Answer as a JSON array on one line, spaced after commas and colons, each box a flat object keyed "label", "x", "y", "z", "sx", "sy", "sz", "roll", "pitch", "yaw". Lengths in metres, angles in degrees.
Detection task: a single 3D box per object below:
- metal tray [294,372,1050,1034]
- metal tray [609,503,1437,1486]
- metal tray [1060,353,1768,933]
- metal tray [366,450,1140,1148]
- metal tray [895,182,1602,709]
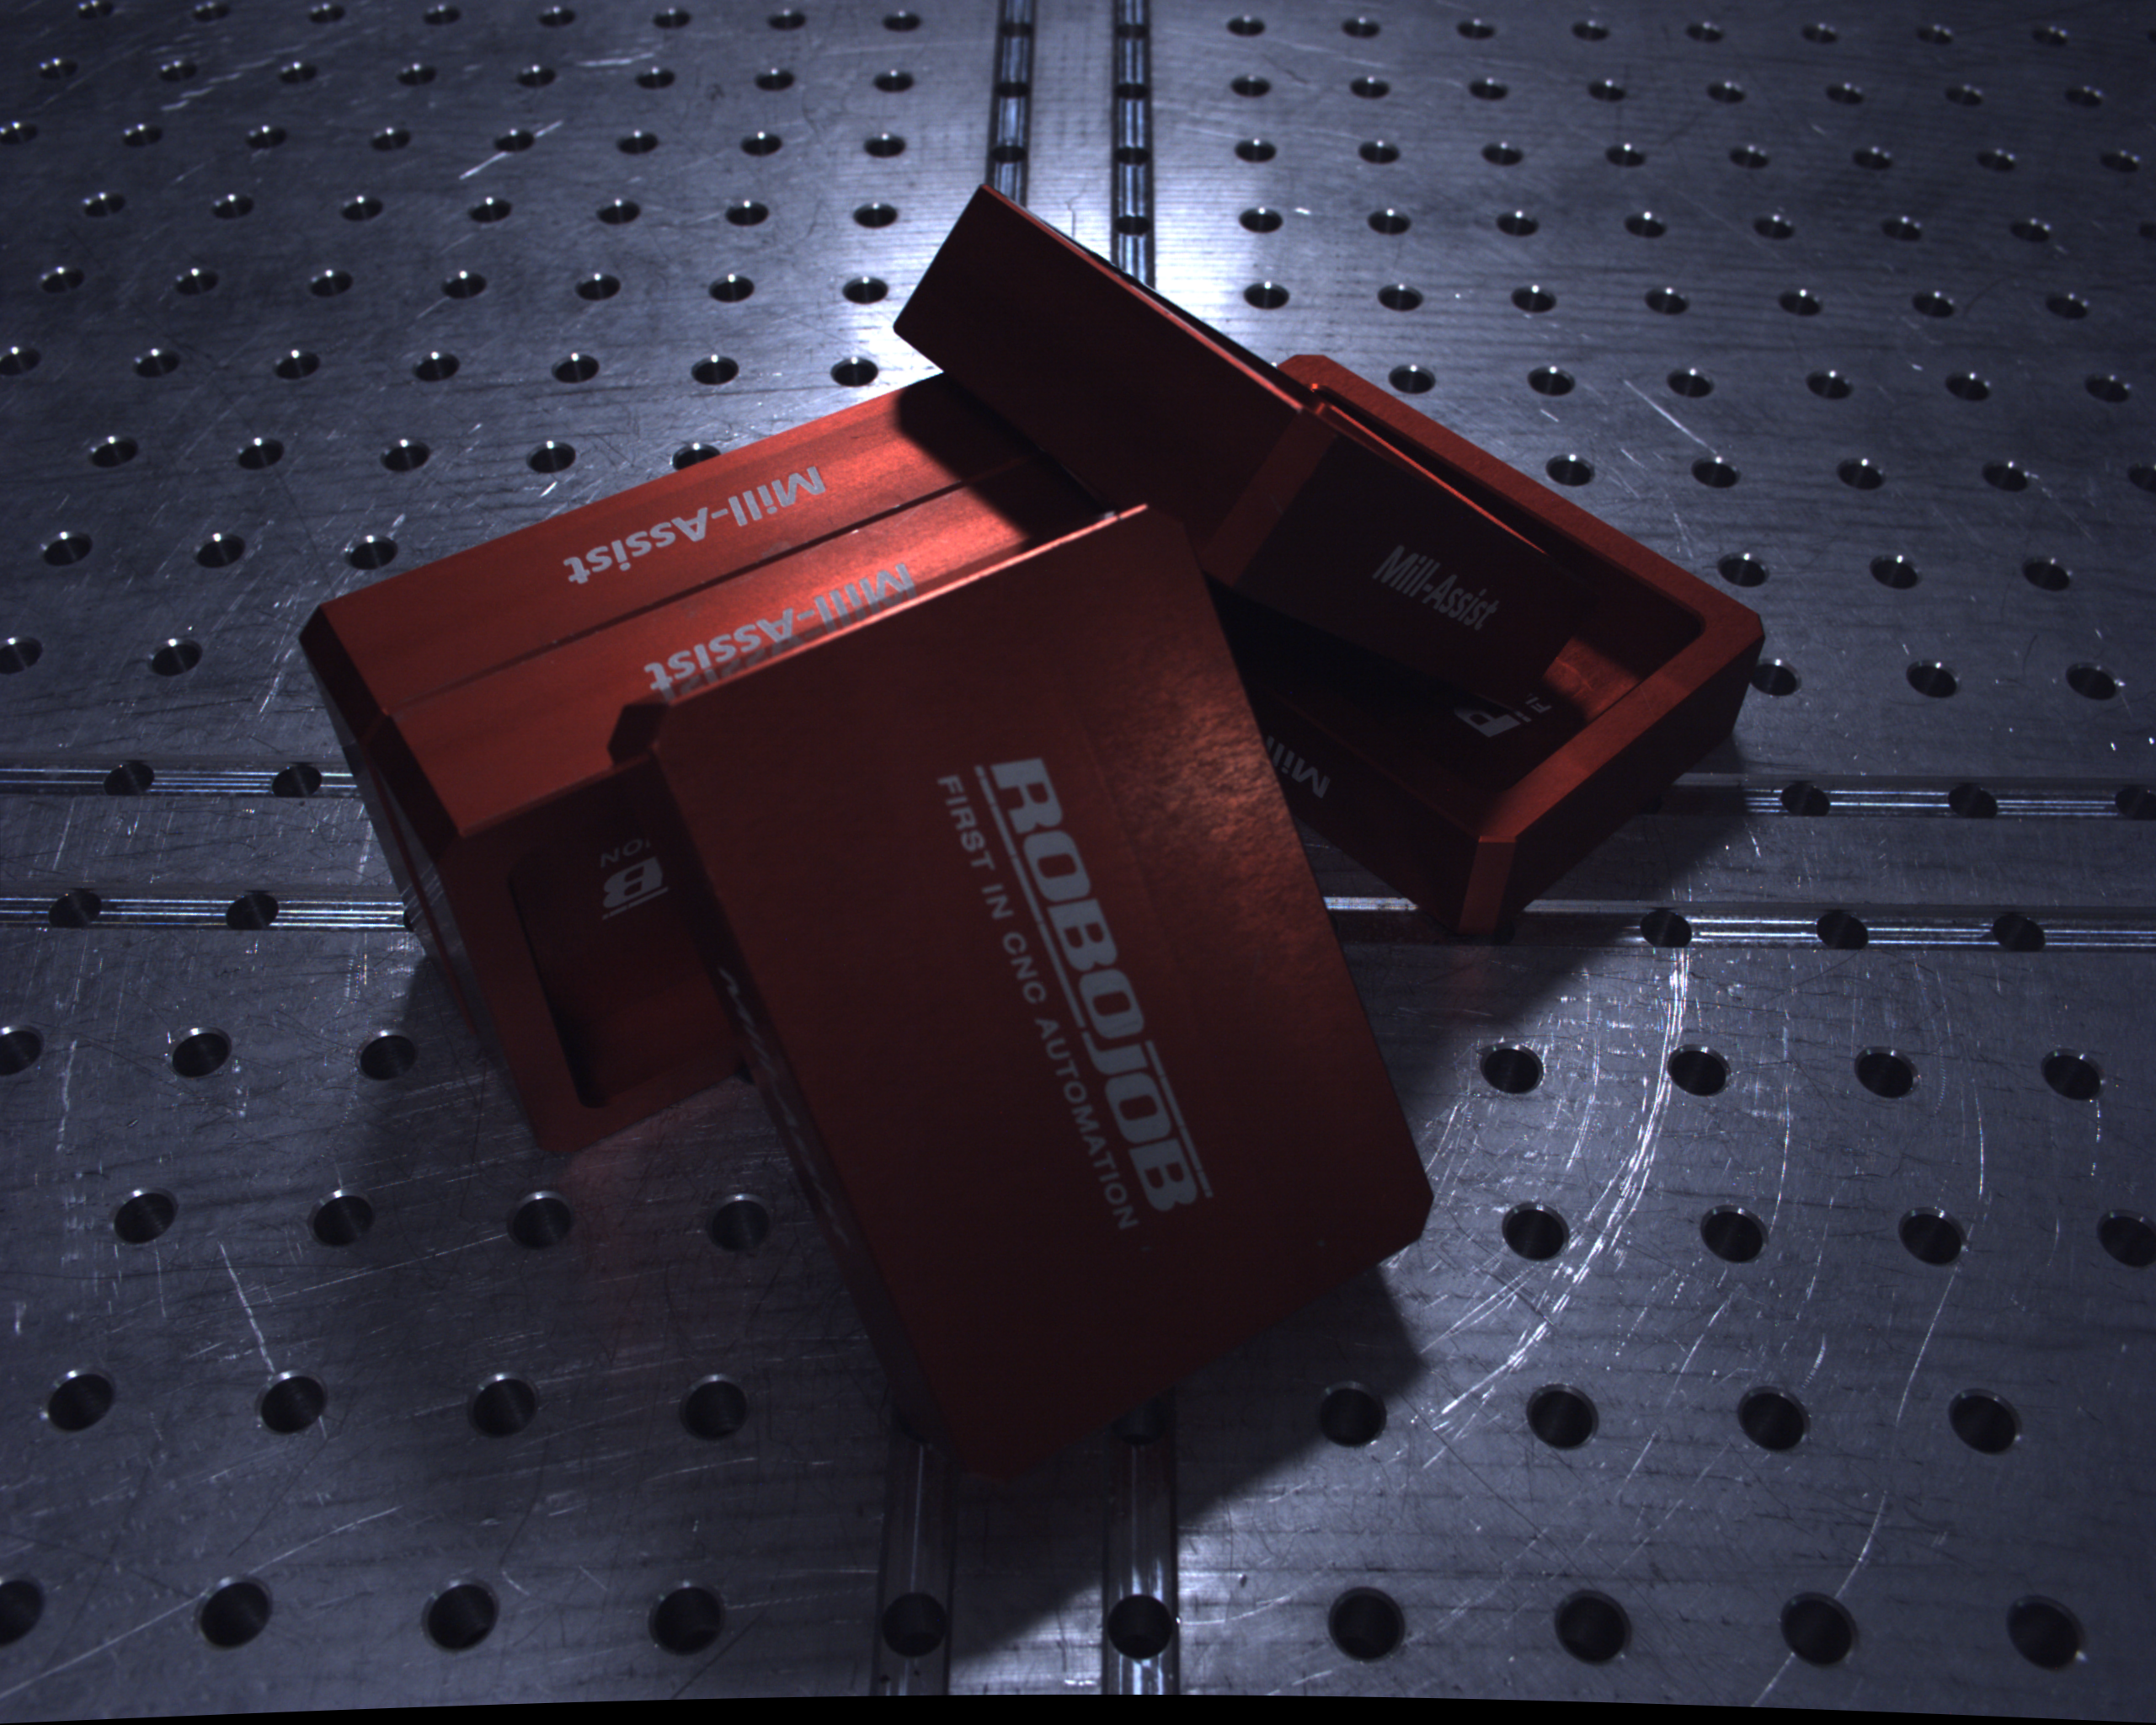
[{"label": "metal tray", "x": -0.066, "y": -0.029, "z": 0.388, "sx": 0.131, "sy": 0.089, "sz": 0.030, "roll": -26, "pitch": 55, "yaw": -21}, {"label": "metal tray", "x": -0.006, "y": 0.019, "z": 0.331, "sx": 0.091, "sy": 0.129, "sz": 0.030, "roll": -26, "pitch": 13, "yaw": -20}, {"label": "metal tray", "x": 0.066, "y": -0.052, "z": 0.447, "sx": 0.091, "sy": 0.030, "sz": 0.130, "roll": -36, "pitch": 59, "yaw": -27}, {"label": "metal tray", "x": -0.049, "y": -0.011, "z": 0.372, "sx": 0.131, "sy": 0.089, "sz": 0.030, "roll": -26, "pitch": 55, "yaw": -21}, {"label": "metal tray", "x": 0.037, "y": -0.076, "z": 0.398, "sx": 0.090, "sy": 0.030, "sz": 0.131, "roll": 43, "pitch": 17, "yaw": 29}]
